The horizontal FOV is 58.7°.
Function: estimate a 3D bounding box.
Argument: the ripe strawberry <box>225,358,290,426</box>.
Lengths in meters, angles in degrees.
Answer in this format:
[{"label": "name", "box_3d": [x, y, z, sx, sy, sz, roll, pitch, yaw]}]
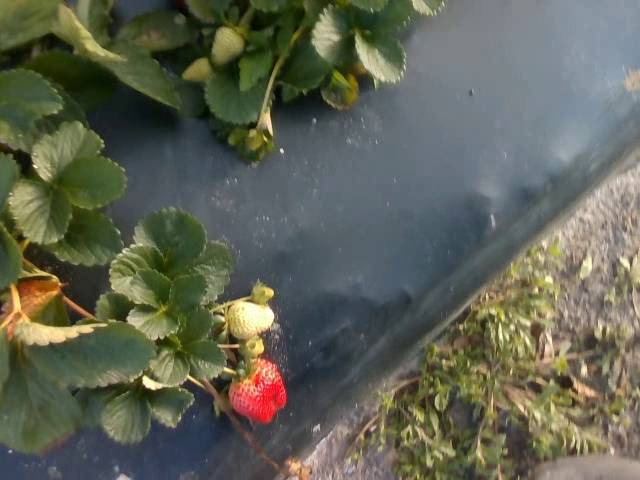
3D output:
[{"label": "ripe strawberry", "box_3d": [-0.047, 0.131, 0.461, 0.047, 0.050, 0.034, -39, 22, -9]}]
